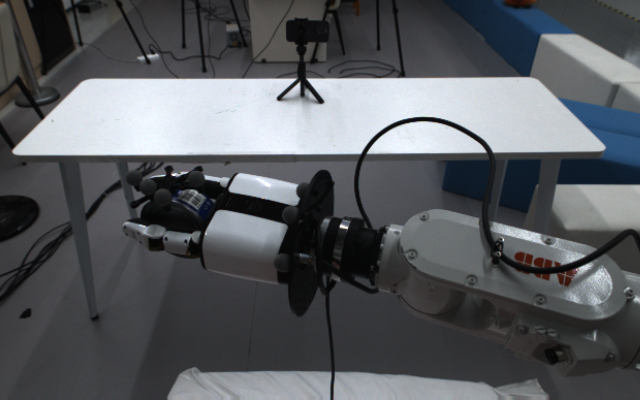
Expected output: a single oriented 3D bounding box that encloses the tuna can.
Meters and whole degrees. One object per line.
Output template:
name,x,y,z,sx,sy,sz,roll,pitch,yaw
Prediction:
tuna can,-0.155,0.025,0.552,0.085,0.085,0.034,11,38,12
